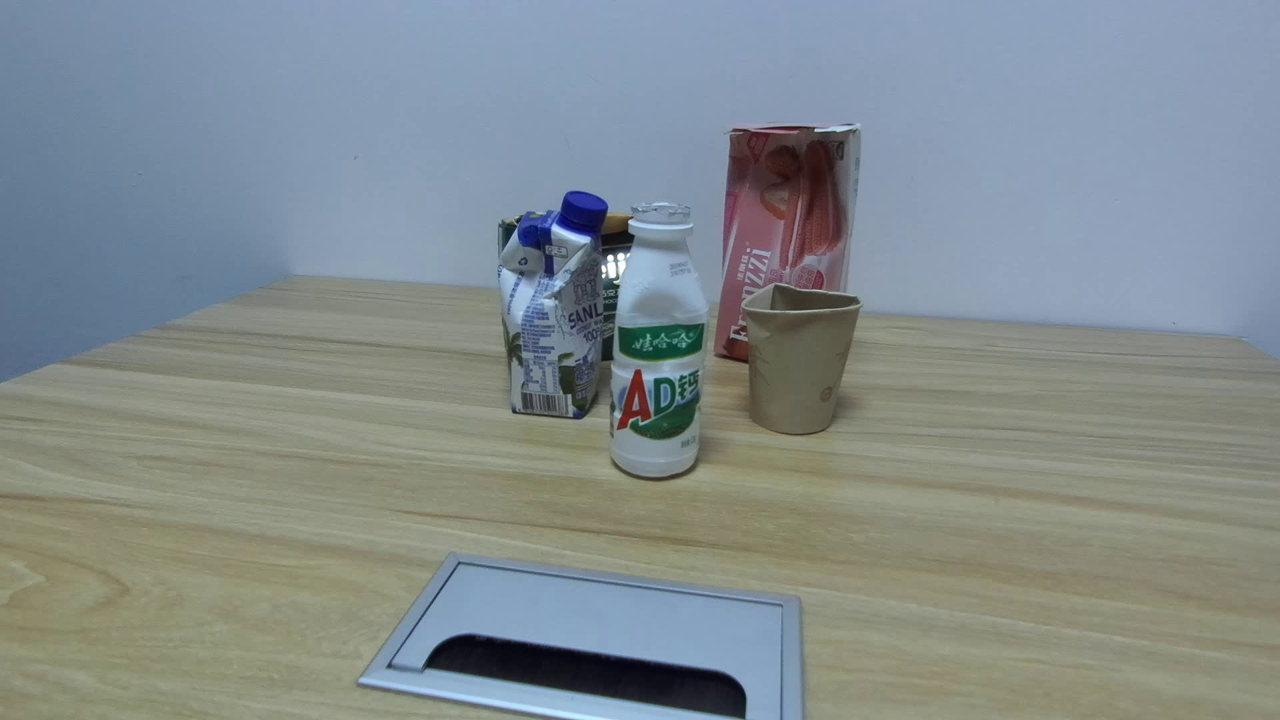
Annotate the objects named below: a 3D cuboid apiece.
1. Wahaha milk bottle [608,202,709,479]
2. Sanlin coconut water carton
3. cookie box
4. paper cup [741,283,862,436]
[{"bbox_3d":[0.010,-0.011,0.390,0.055,0.149,0.055,1,20,0],"label":"Wahaha milk bottle"},{"bbox_3d":[-0.055,-0.036,0.462,0.070,0.144,0.061,6,23,12],"label":"Sanlin coconut water carton"},{"bbox_3d":[0.110,-0.085,0.542,0.118,0.184,0.056,15,25,36],"label":"cookie box"},{"bbox_3d":[0.100,0.000,0.454,0.071,0.084,0.066,9,22,24],"label":"paper cup"}]
